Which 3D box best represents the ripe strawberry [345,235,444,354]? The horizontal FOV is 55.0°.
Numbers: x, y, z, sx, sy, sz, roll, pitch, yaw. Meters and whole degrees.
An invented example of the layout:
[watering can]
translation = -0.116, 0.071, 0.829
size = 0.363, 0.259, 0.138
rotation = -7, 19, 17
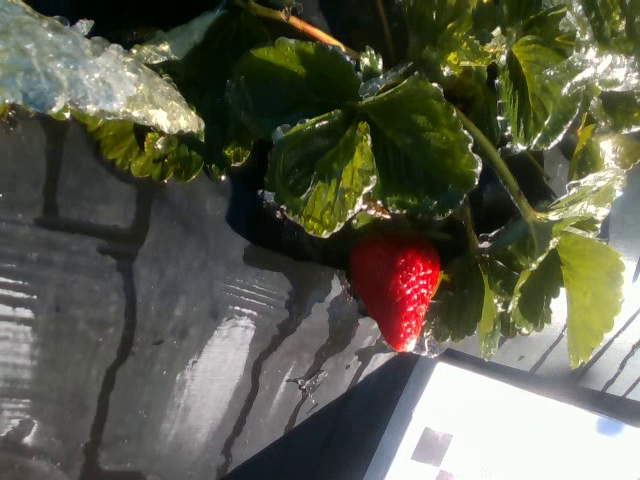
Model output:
[ripe strawberry]
translation = 0.033, 0.023, 0.253
size = 0.041, 0.053, 0.047
rotation = 14, -27, -21
